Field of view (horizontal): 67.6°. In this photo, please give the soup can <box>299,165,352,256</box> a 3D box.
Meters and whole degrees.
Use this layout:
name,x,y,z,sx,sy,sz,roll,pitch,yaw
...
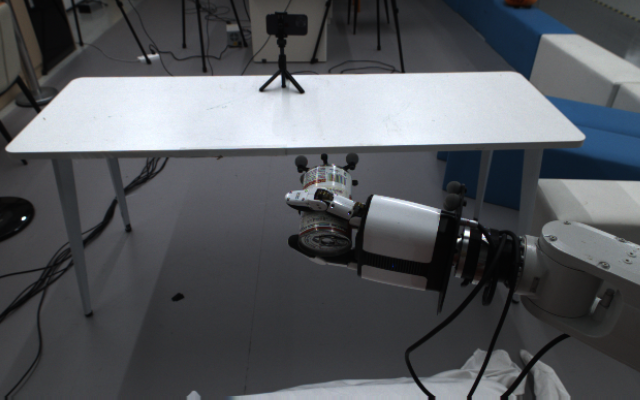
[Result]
name,x,y,z,sx,sy,sz,roll,pitch,yaw
soup can,0.009,0.013,0.622,0.067,0.067,0.101,3,57,1
